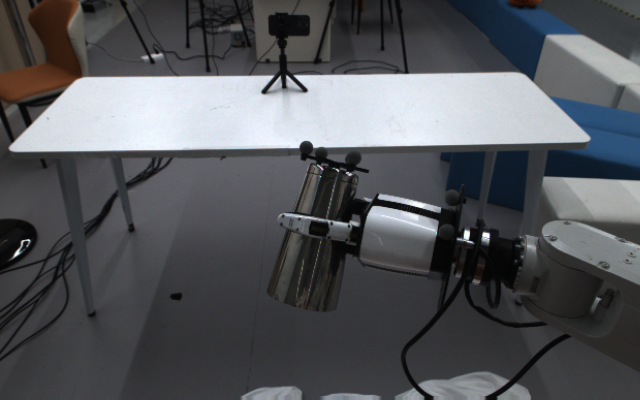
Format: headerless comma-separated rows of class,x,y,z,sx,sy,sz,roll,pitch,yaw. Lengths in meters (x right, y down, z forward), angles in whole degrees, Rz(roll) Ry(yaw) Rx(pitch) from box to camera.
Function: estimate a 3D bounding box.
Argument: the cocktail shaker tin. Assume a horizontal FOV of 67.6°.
cocktail shaker tin,-0.003,0.044,0.614,0.093,0.170,0.093,14,2,0
